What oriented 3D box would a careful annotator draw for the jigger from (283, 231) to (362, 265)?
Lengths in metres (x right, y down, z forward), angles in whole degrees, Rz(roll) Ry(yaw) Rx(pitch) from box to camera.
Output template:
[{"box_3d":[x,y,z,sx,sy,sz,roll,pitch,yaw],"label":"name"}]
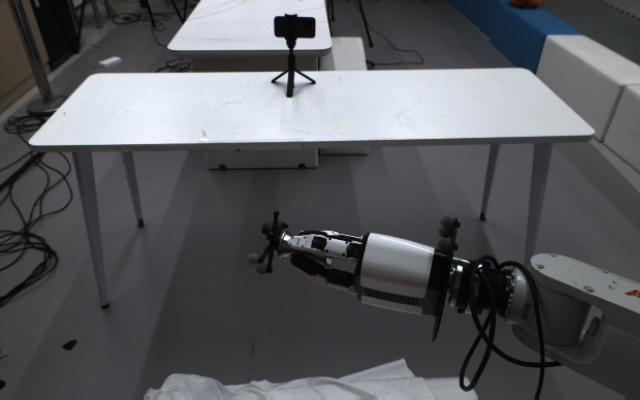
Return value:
[{"box_3d":[-0.011,0.062,0.659,0.071,0.043,0.043,9,35,16],"label":"jigger"}]
